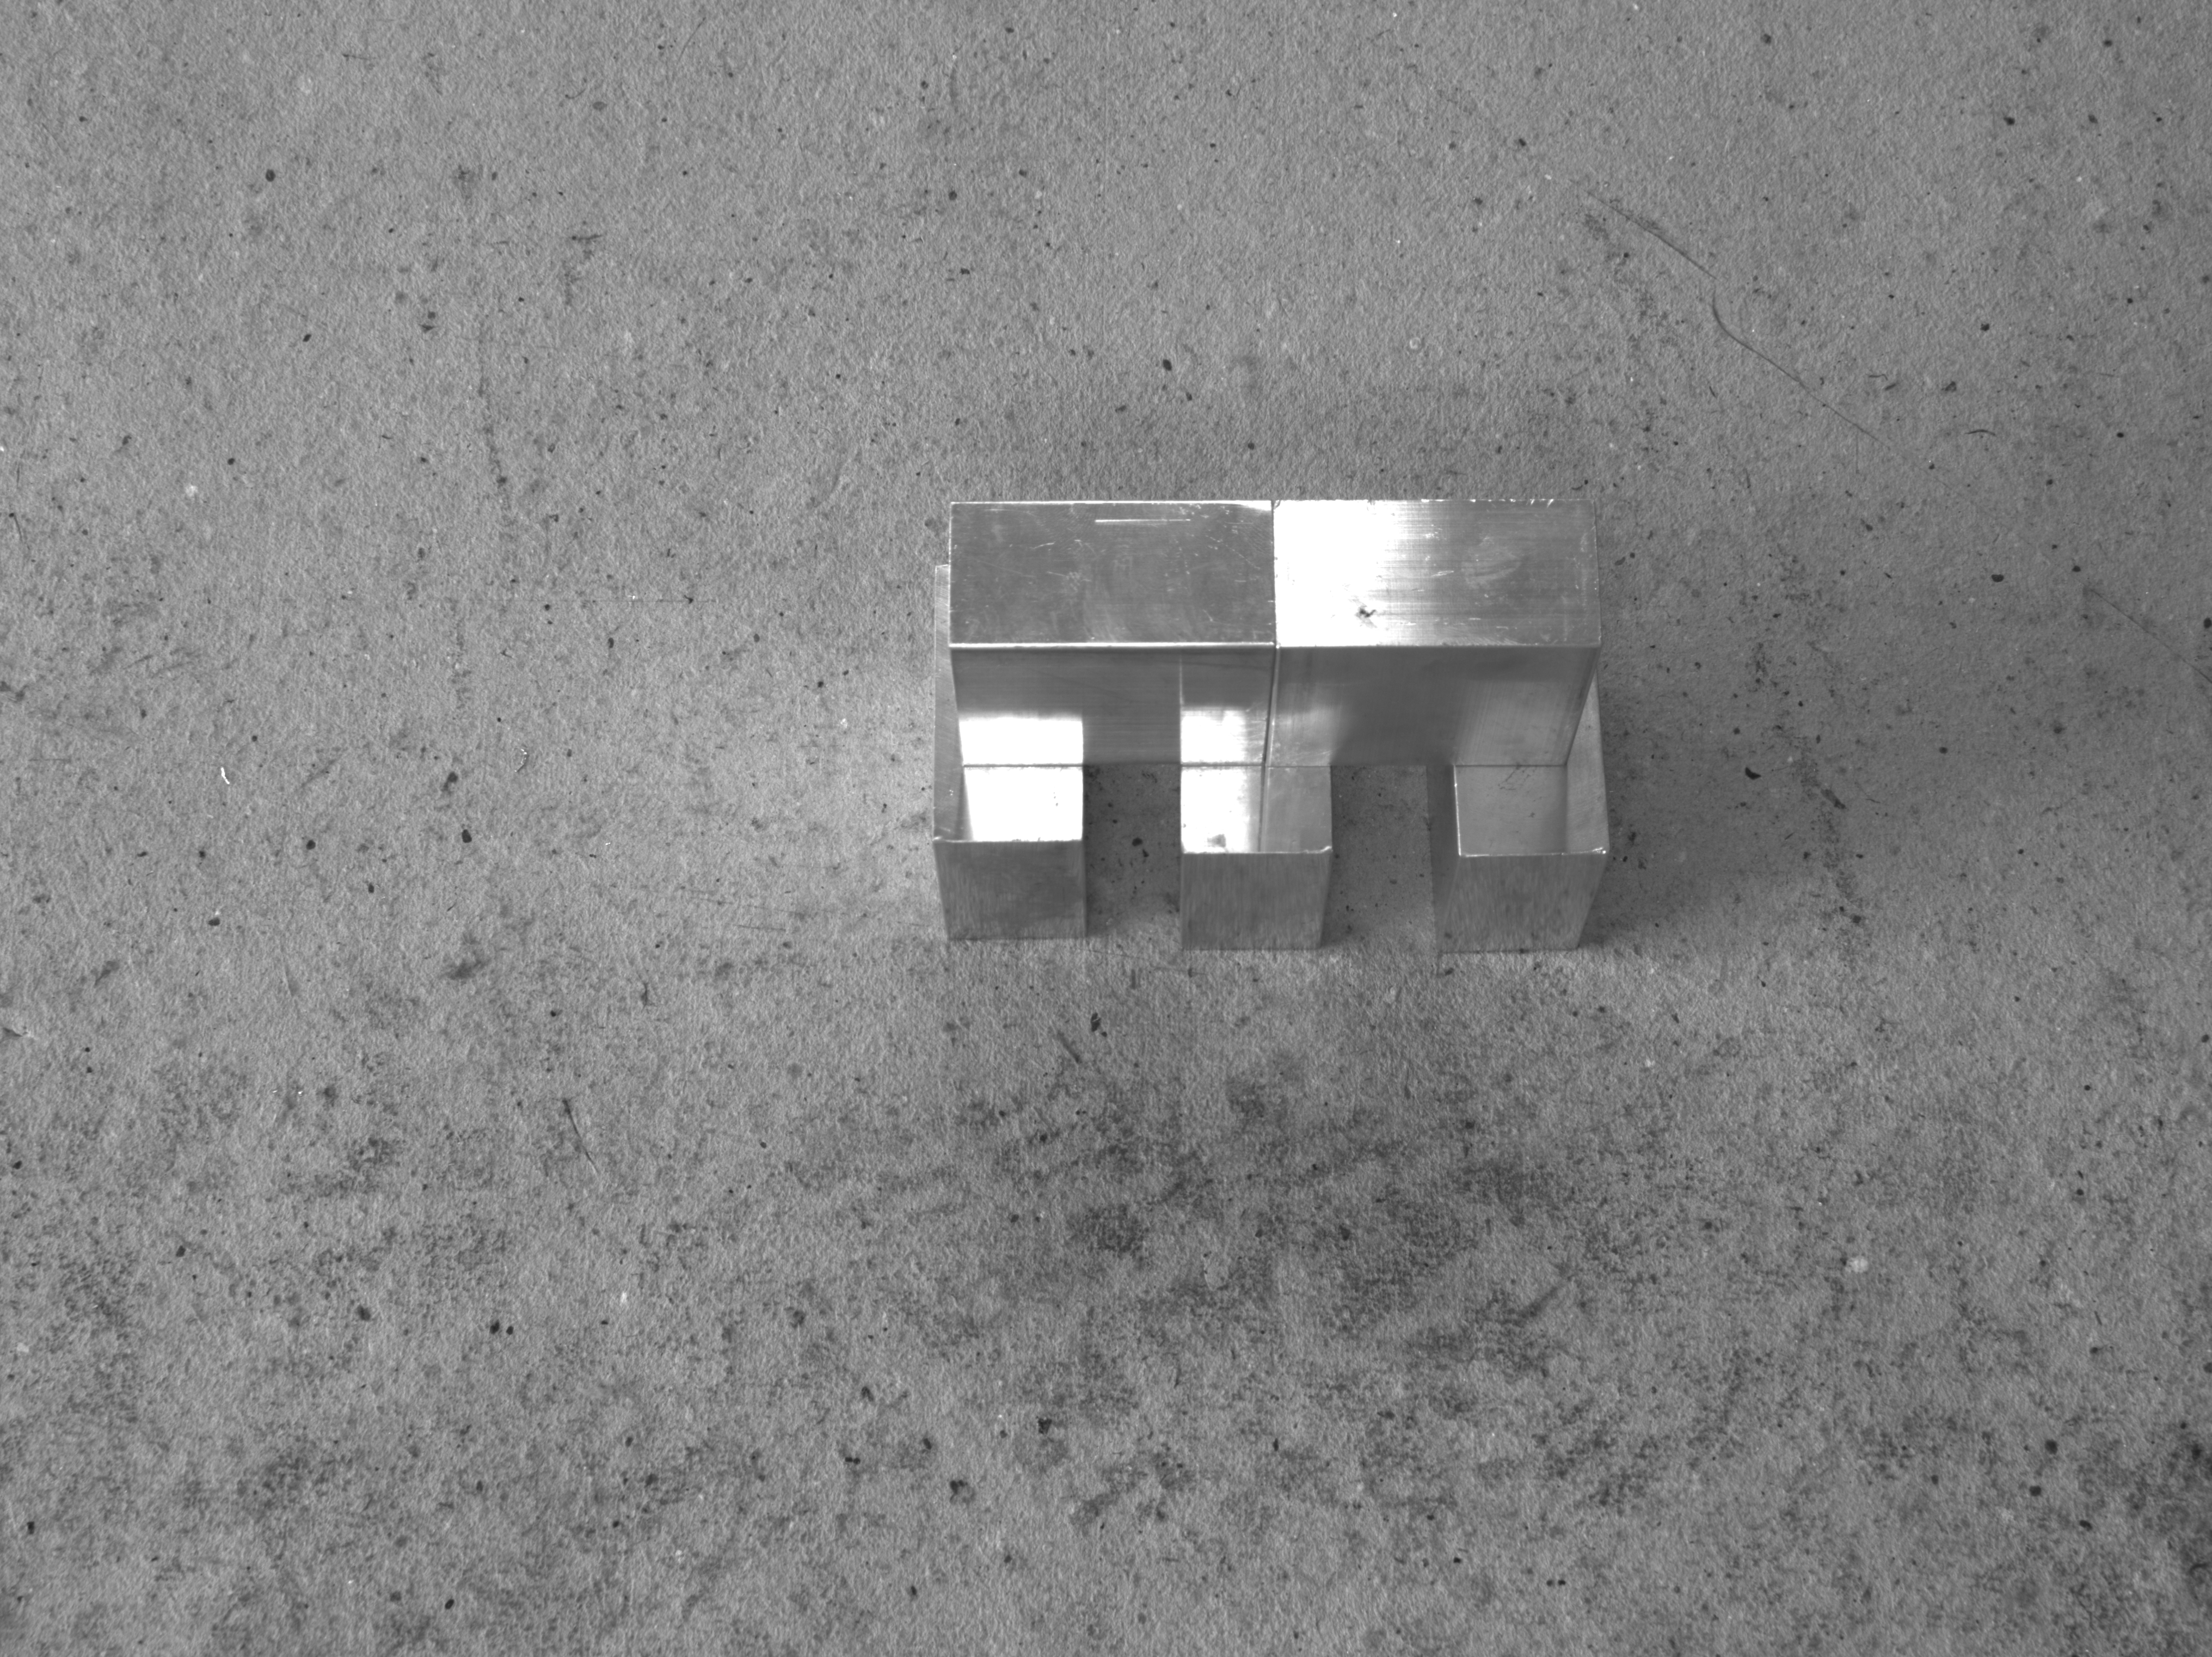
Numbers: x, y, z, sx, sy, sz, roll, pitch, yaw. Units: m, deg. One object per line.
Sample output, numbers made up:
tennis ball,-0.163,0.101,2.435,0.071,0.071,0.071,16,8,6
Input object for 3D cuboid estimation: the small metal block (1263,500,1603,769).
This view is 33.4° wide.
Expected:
small metal block,0.051,-0.030,0.590,0.050,0.050,0.025,0,70,0

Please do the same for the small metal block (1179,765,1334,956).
small metal block,0.025,-0.010,0.637,0.025,0.050,0.050,-1,69,0

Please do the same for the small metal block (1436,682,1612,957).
small metal block,0.070,-0.010,0.636,0.025,0.050,0.050,-1,69,0

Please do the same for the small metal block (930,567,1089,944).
small metal block,-0.016,-0.012,0.636,0.025,0.050,0.050,-1,69,1

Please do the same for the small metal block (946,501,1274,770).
small metal block,0.001,-0.030,0.591,0.050,0.050,0.025,0,70,0
